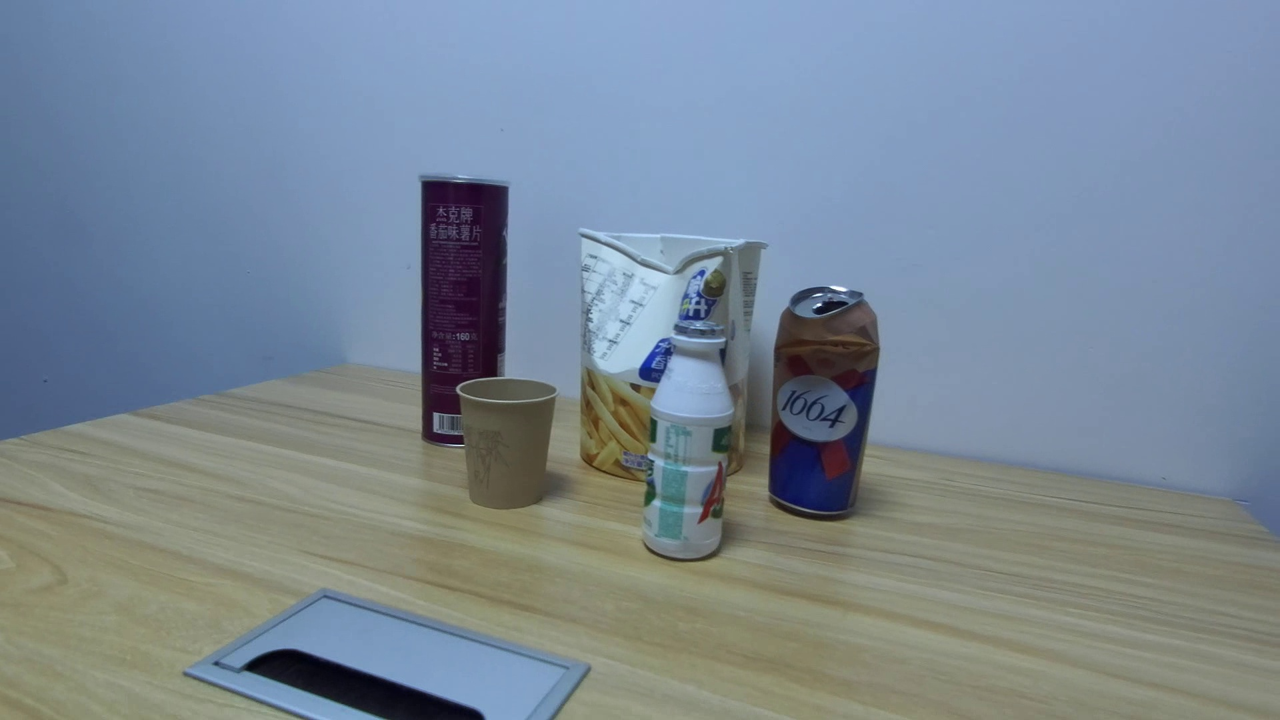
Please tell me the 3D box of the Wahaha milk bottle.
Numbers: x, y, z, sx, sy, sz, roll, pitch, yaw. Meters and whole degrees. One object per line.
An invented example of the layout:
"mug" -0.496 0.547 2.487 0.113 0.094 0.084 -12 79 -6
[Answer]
"Wahaha milk bottle" 0.032 0.050 0.447 0.053 0.147 0.053 3 11 0

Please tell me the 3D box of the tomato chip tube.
"tomato chip tube" -0.160 -0.044 0.644 0.078 0.233 0.078 4 11 0

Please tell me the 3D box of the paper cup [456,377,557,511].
"paper cup" -0.099 0.061 0.523 0.075 0.082 0.075 3 11 0

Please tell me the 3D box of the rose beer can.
"rose beer can" 0.135 0.032 0.525 0.069 0.168 0.070 3 14 6

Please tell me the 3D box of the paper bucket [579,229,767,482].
"paper bucket" 0.017 -0.010 0.624 0.162 0.202 0.169 6 10 19
